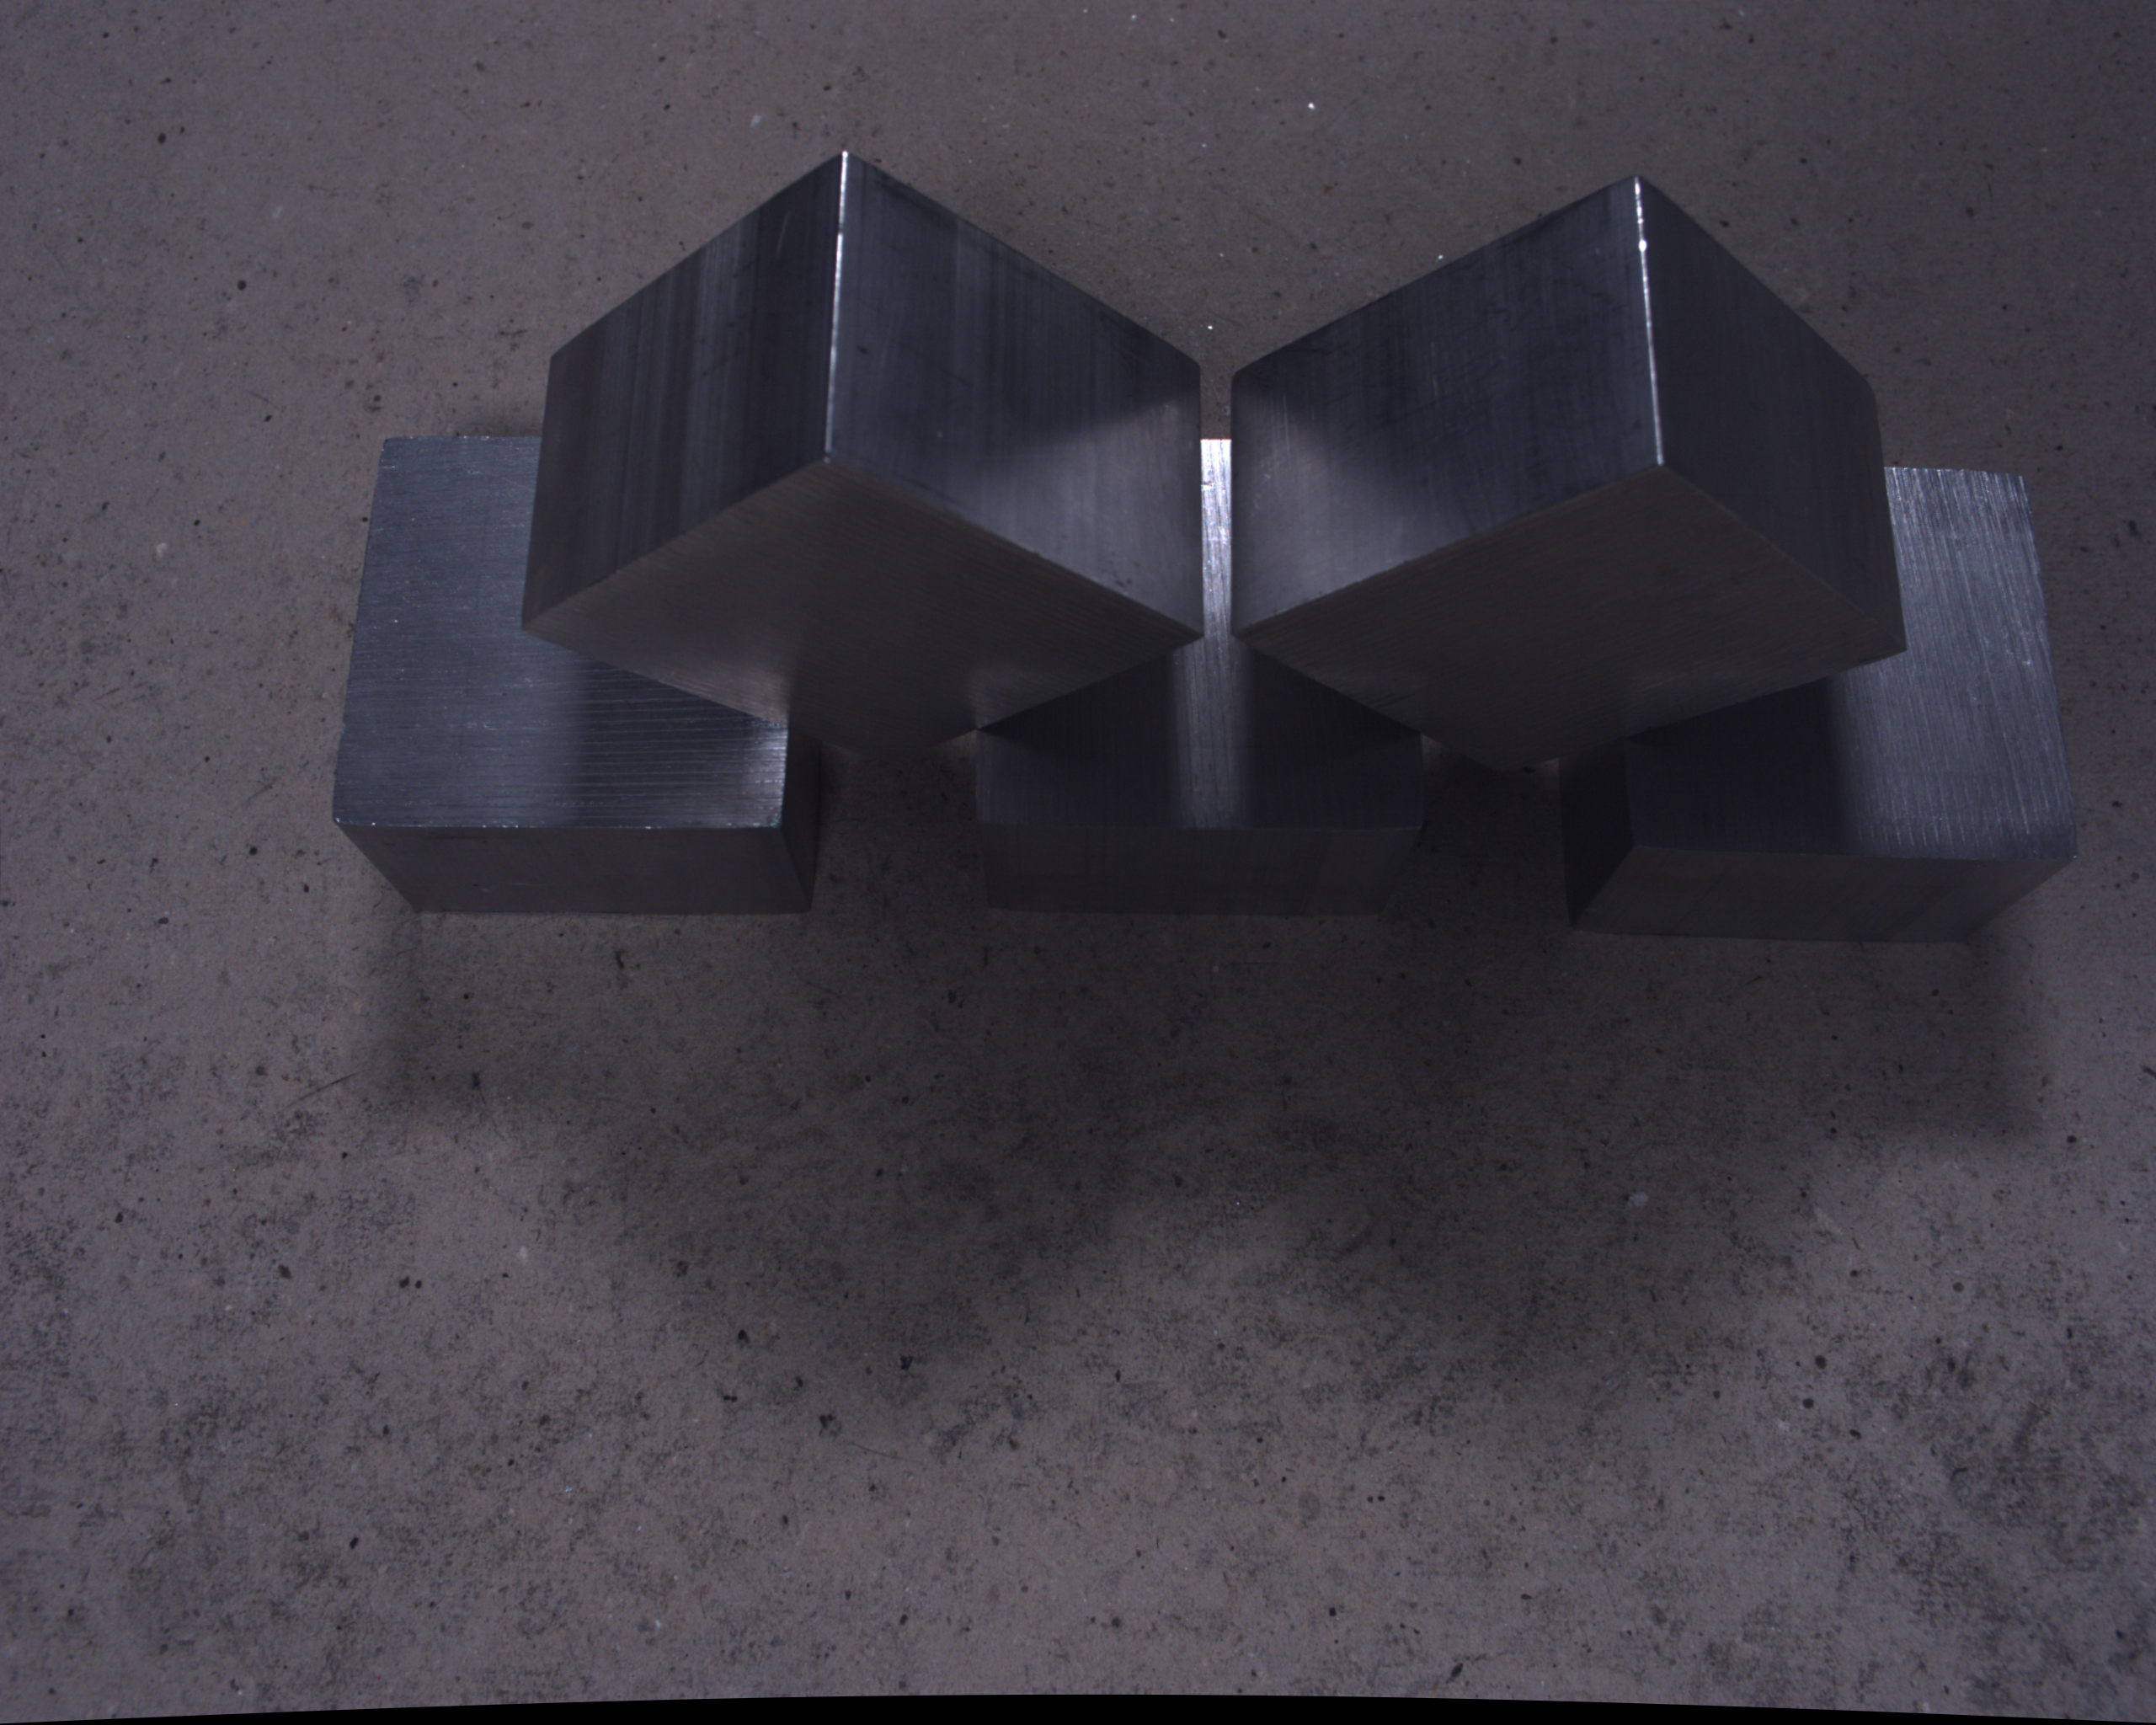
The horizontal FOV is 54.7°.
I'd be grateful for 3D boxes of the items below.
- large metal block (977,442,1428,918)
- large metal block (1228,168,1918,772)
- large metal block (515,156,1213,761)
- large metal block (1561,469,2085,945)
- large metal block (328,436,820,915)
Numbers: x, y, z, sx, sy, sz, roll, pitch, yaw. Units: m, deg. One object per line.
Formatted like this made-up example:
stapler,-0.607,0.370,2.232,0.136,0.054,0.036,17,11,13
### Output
large metal block,0.023,-0.035,0.409,0.081,0.050,0.080,1,70,0
large metal block,0.082,-0.060,0.352,0.080,0.080,0.050,-18,63,41
large metal block,-0.035,-0.061,0.349,0.080,0.080,0.050,18,63,-42
large metal block,0.140,-0.030,0.409,0.081,0.050,0.080,1,70,0
large metal block,-0.093,-0.035,0.408,0.081,0.050,0.080,0,70,0
